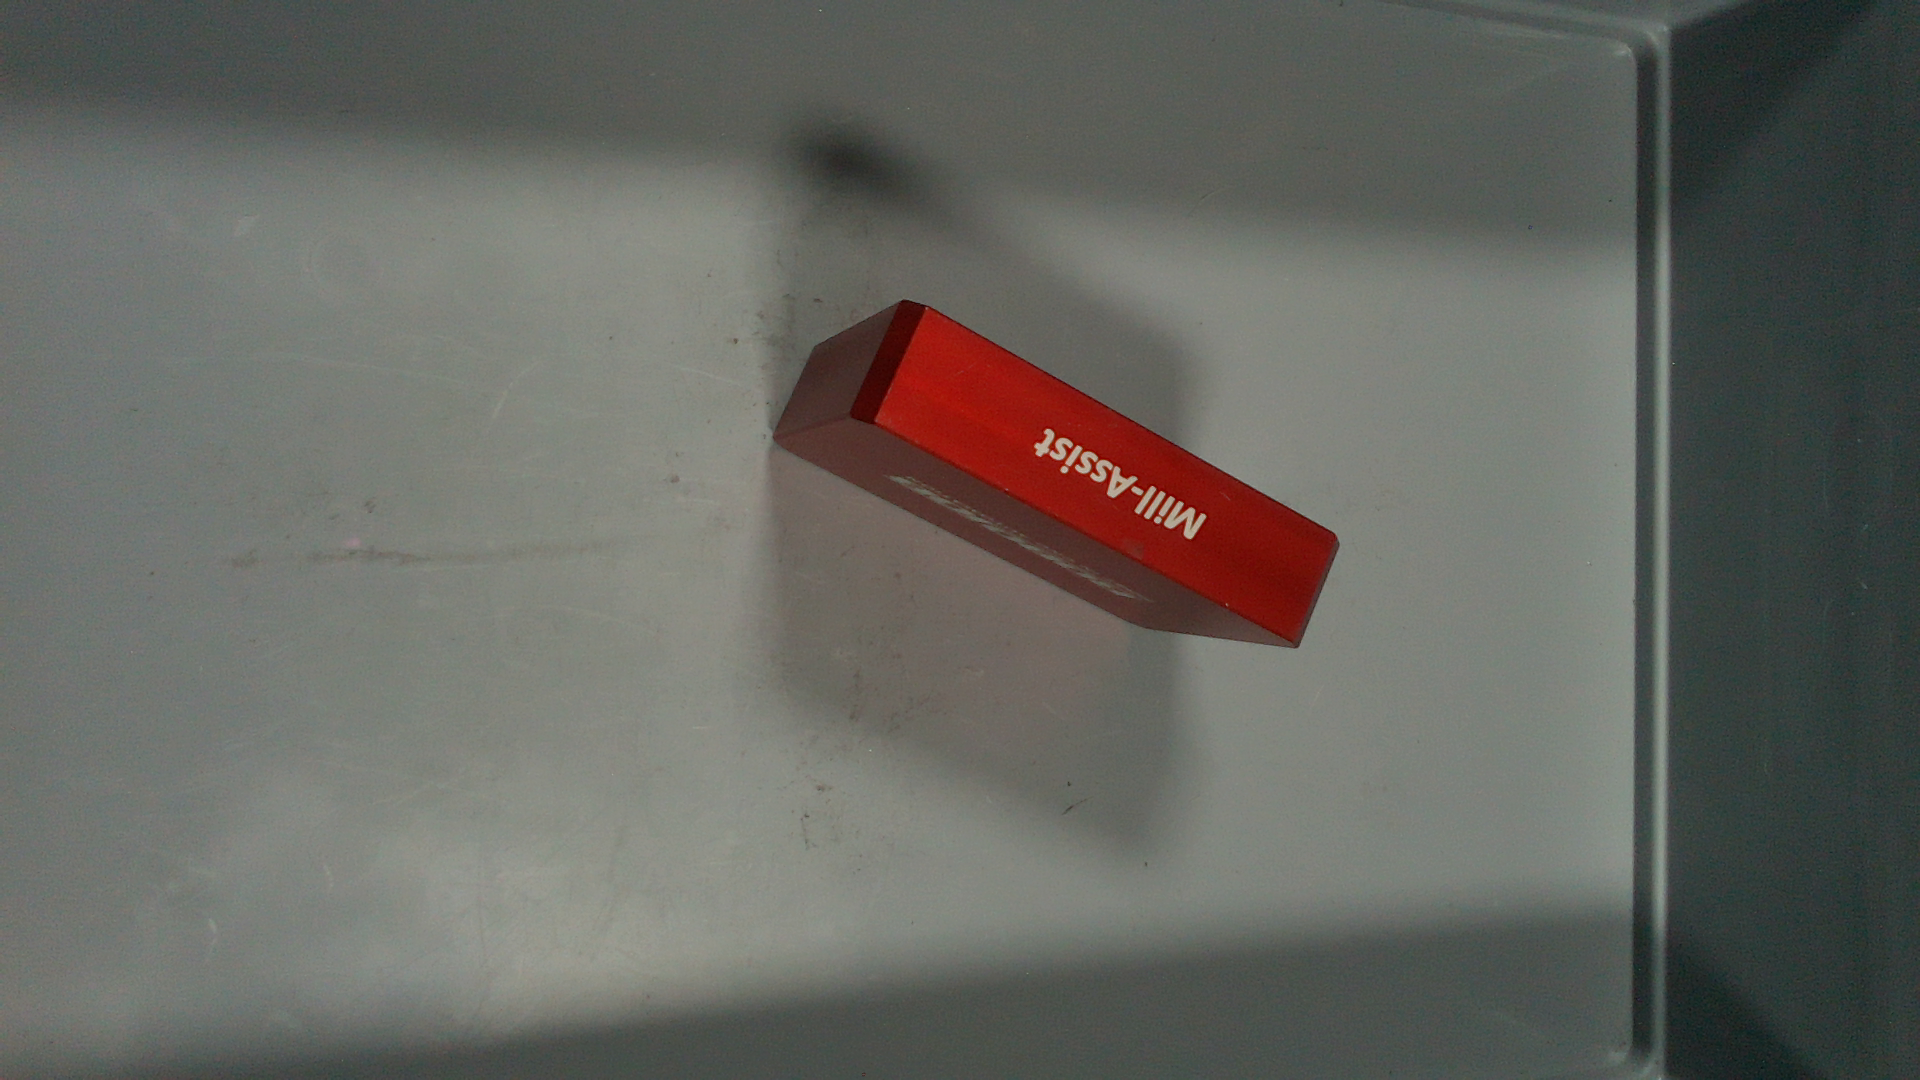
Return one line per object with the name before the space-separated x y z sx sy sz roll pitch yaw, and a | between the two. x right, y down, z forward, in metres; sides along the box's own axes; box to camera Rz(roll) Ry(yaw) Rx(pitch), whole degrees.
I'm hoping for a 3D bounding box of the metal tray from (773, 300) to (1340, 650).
metal tray | 0.022 -0.013 0.364 0.130 0.090 0.030 26 81 -19
